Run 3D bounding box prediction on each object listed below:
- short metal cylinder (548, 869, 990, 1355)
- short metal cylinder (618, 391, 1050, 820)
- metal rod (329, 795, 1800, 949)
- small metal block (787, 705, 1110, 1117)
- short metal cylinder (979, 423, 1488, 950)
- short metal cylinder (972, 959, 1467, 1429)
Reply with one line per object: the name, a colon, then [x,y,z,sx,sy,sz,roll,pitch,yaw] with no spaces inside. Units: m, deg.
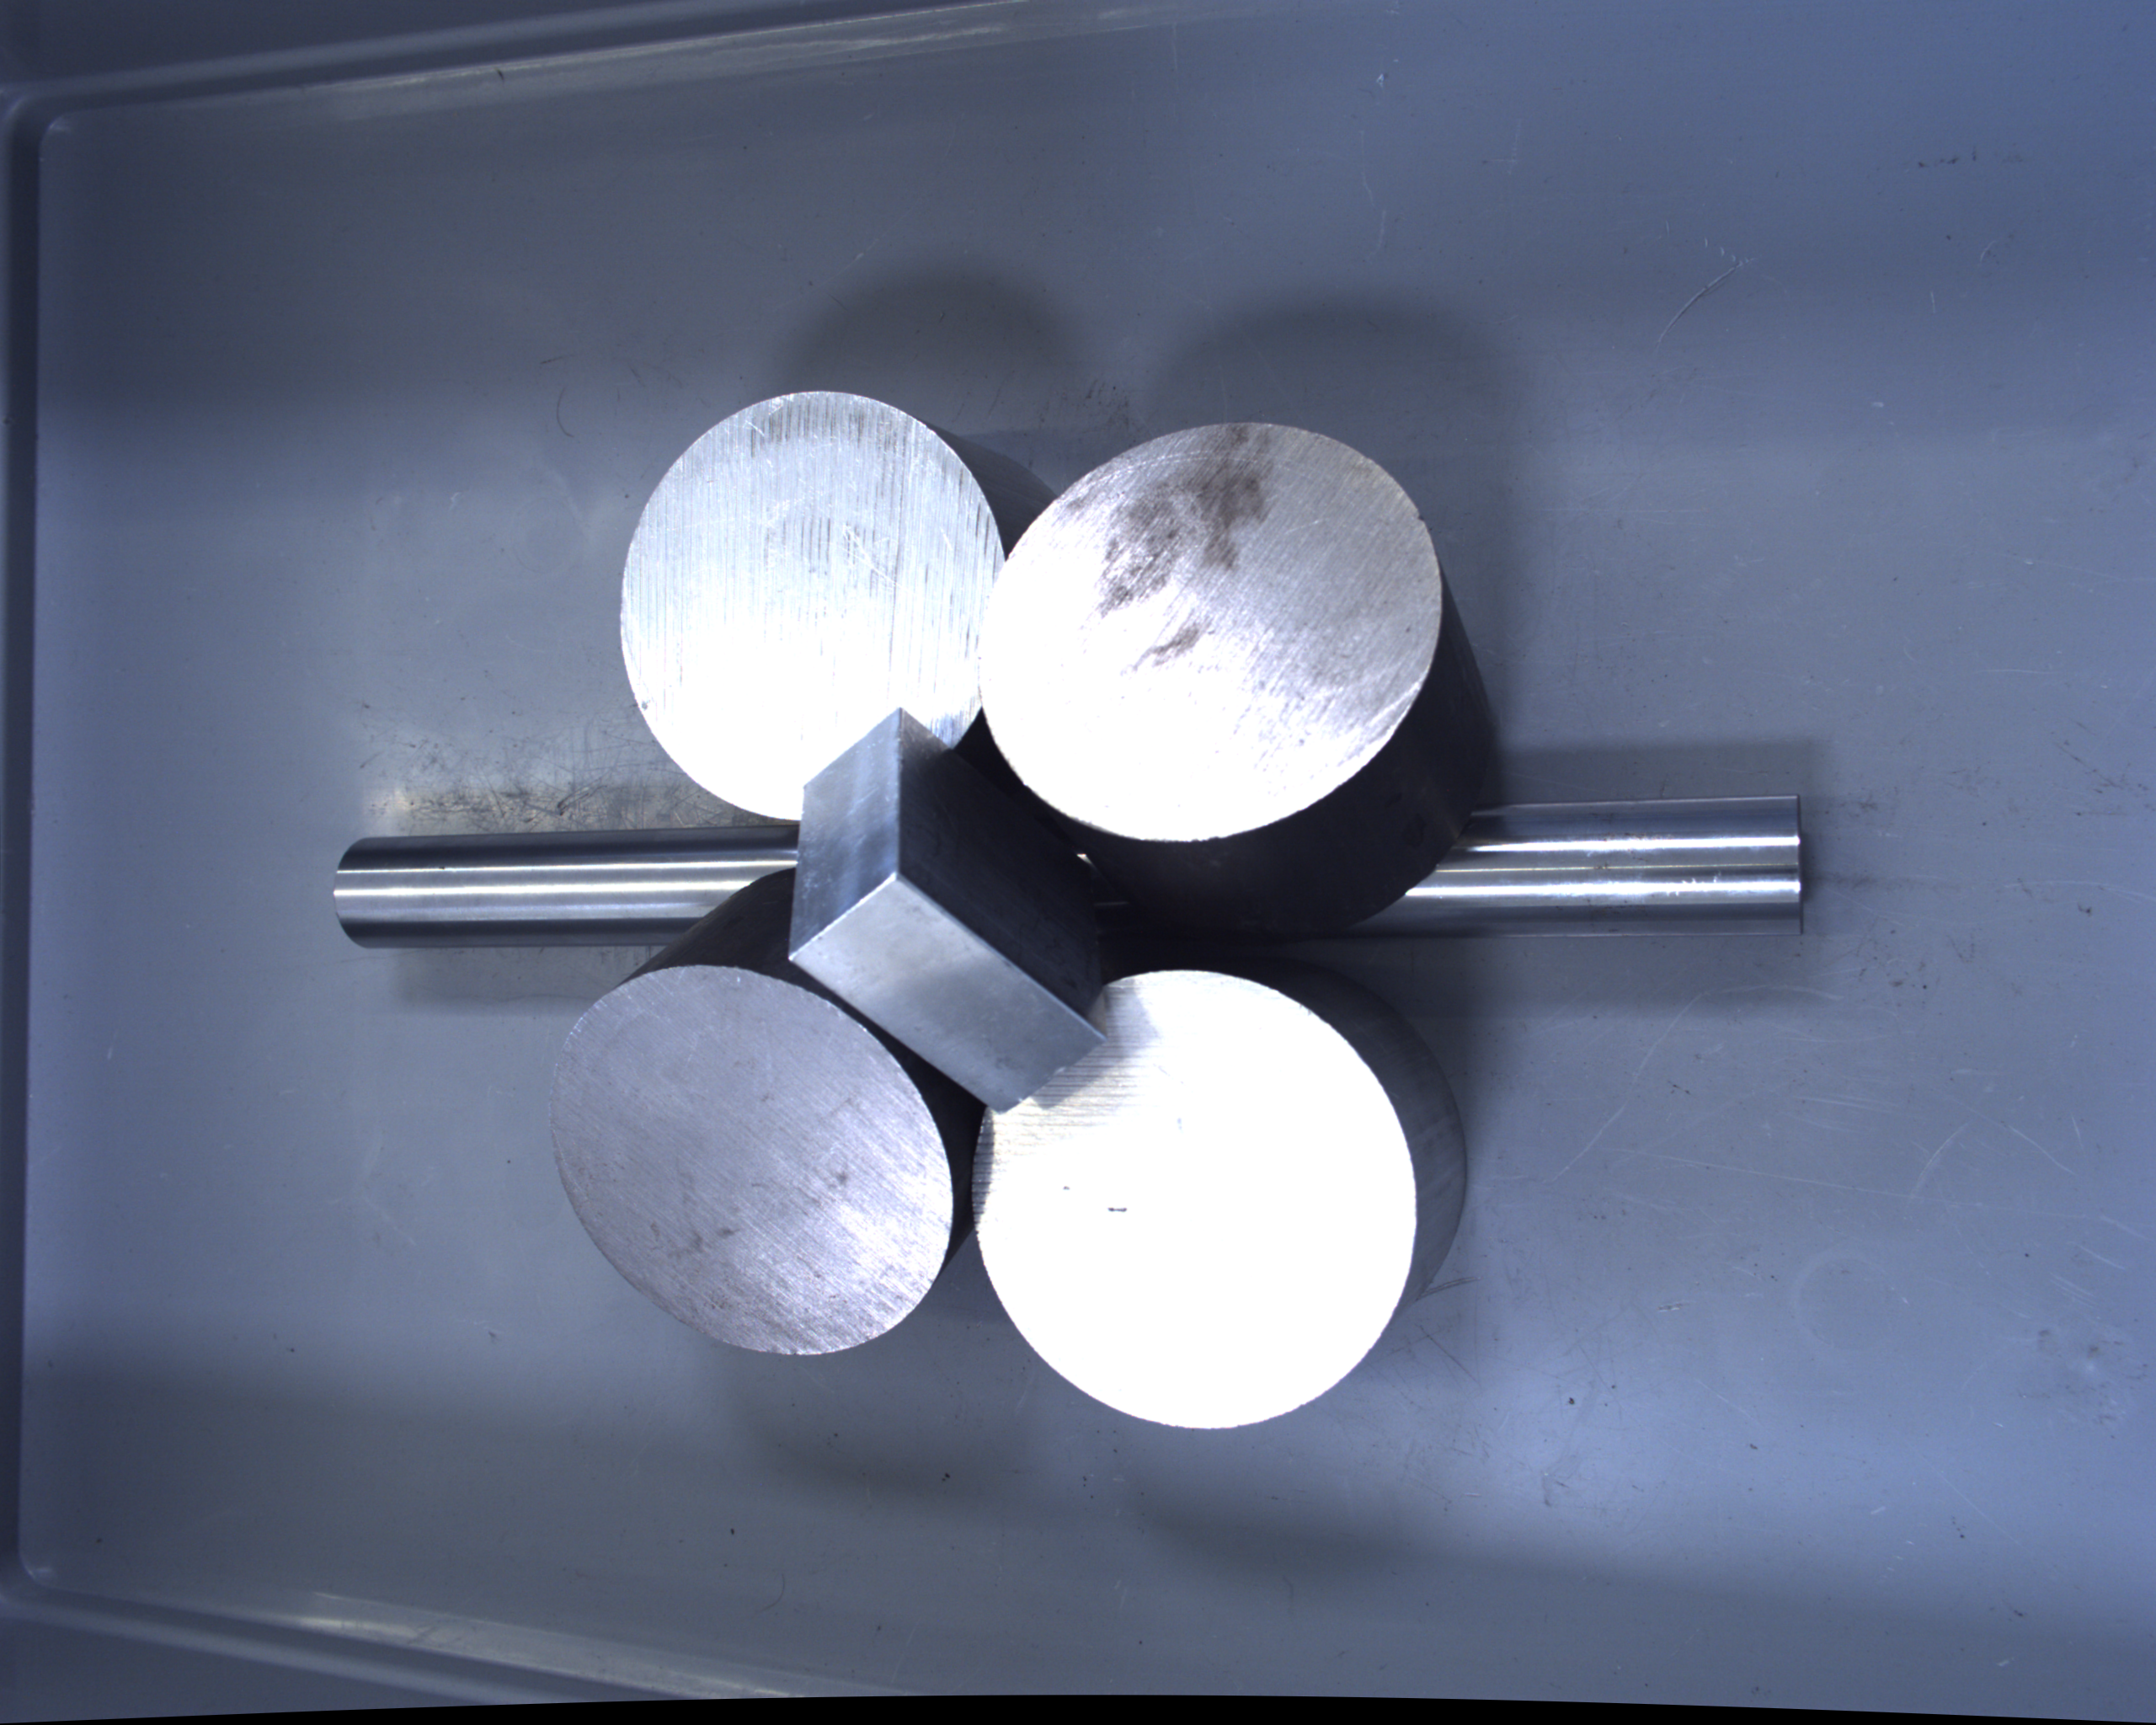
short metal cylinder: [-0.053,0.046,0.401,0.080,0.050,0.079,6,112,16]
short metal cylinder: [-0.042,-0.048,0.410,0.080,0.050,0.079,0,90,20]
metal rod: [-0.016,0.004,0.414,0.301,0.025,0.025,-1,90,19]
small metal block: [-0.022,0.008,0.365,0.025,0.050,0.050,-38,120,22]
short metal cylinder: [0.029,-0.030,0.371,0.080,0.050,0.080,-8,64,17]
short metal cylinder: [0.027,0.058,0.385,0.080,0.050,0.079,0,90,20]
